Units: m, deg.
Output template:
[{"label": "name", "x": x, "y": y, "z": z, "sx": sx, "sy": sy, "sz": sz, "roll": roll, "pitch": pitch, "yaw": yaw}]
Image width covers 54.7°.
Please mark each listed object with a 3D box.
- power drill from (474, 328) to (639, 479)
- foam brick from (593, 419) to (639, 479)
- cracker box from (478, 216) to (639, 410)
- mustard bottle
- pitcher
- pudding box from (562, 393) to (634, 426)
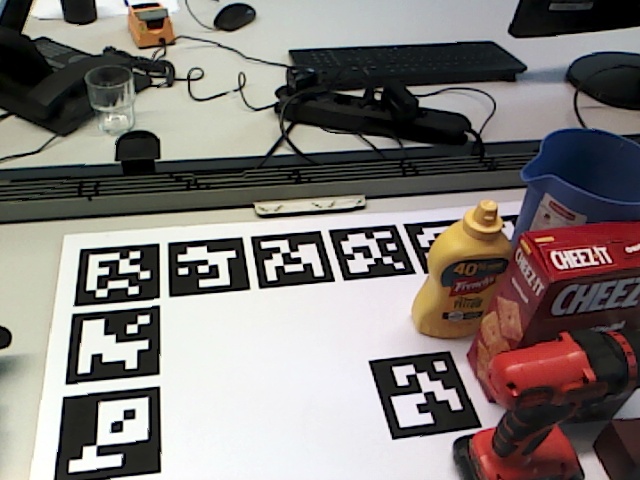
[{"label": "power drill", "x": 0.224, "y": 0.153, "z": 0.548, "sx": 0.184, "sy": 0.186, "sz": 0.057, "roll": -5, "pitch": 42, "yaw": -11}, {"label": "foam brick", "x": 0.335, "y": 0.218, "z": 0.636, "sx": 0.078, "sy": 0.051, "sz": 0.053, "roll": -3, "pitch": 46, "yaw": -8}, {"label": "cracker box", "x": 0.272, "y": 0.081, "z": 0.647, "sx": 0.164, "sy": 0.213, "sz": 0.072, "roll": -8, "pitch": 44, "yaw": -9}, {"label": "mustard bottle", "x": 0.169, "y": 0.022, "z": 0.710, "sx": 0.096, "sy": 0.191, "sz": 0.058, "roll": 5, "pitch": 45, "yaw": 0}, {"label": "pitcher", "x": 0.300, "y": 0.003, "z": 0.723, "sx": 0.188, "sy": 0.242, "sz": 0.134, "roll": -1, "pitch": 45, "yaw": -3}, {"label": "pudding box", "x": 0.270, "y": 0.154, "z": 0.649, "sx": 0.113, "sy": 0.090, "sz": 0.039, "roll": -6, "pitch": 44, "yaw": -7}]
